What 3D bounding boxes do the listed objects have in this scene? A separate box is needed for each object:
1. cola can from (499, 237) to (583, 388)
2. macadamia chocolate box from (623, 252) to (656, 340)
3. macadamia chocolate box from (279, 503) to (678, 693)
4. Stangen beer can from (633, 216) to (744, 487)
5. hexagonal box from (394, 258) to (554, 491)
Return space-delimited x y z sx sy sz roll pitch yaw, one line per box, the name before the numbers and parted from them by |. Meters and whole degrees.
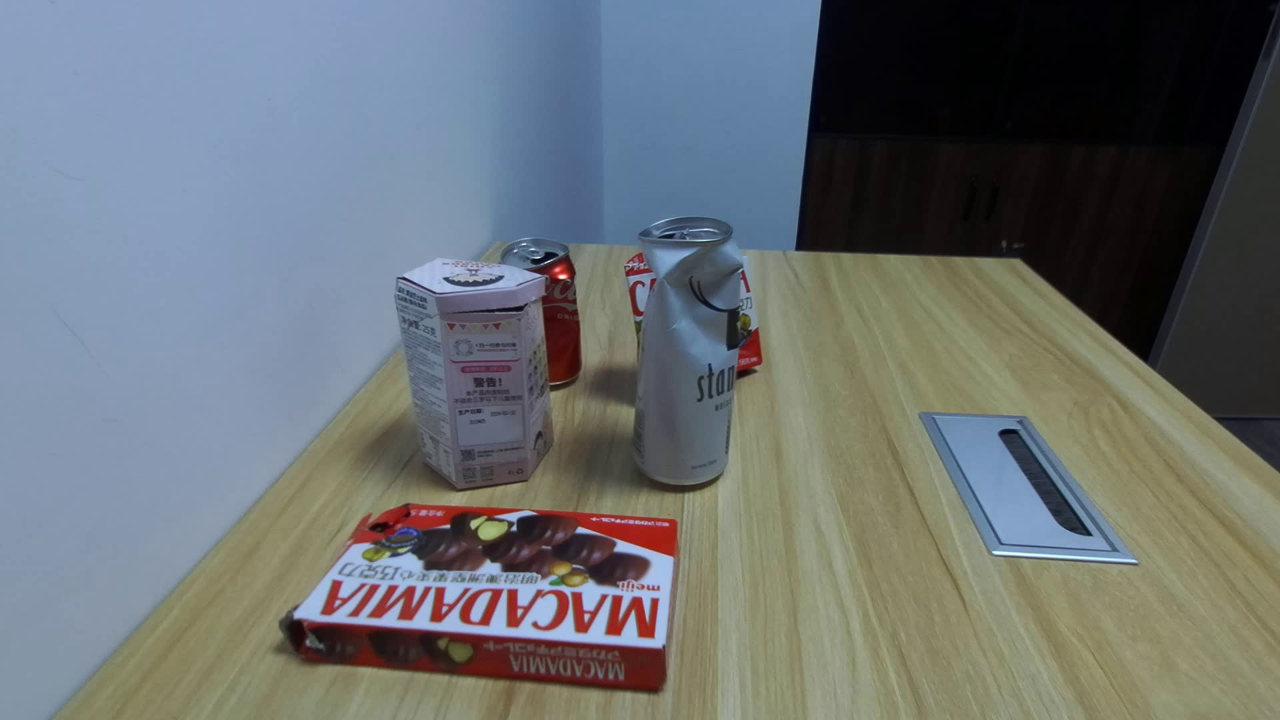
cola can | -0.081 -0.040 0.578 0.066 0.112 0.069 -1 30 -8
macadamia chocolate box | 0.041 -0.035 0.575 0.127 0.112 0.056 -15 31 -27
macadamia chocolate box | -0.075 0.115 0.368 0.186 0.027 0.102 3 24 5
Stangen beer can | 0.027 -0.002 0.445 0.066 0.166 0.065 -15 30 -23
hexagonal box | -0.104 0.007 0.462 0.092 0.135 0.085 -6 26 -11
